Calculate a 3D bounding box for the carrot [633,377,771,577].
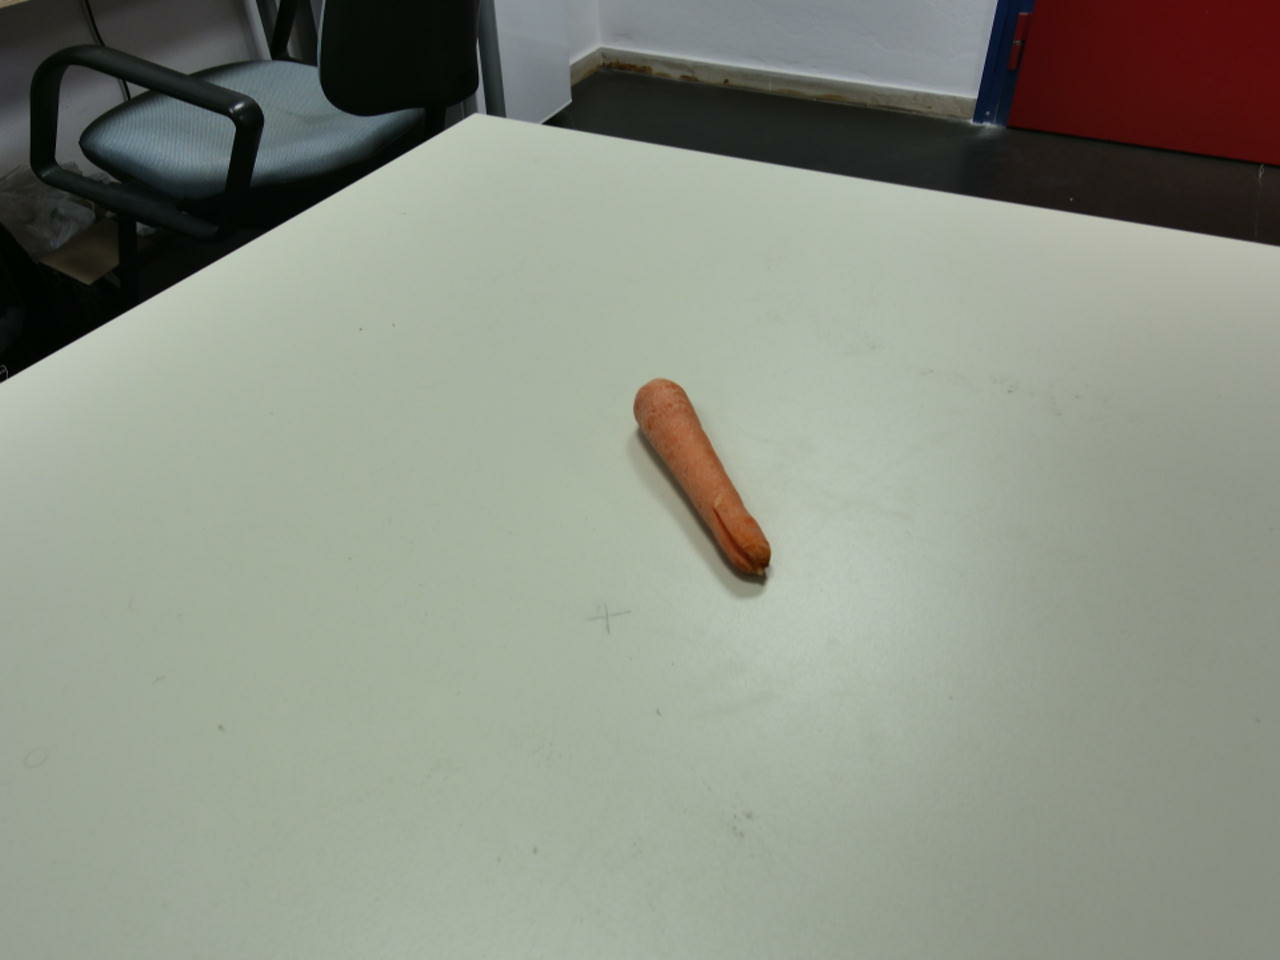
[{"bbox_3d":[0.027,-0.006,0.470,0.030,0.032,0.136,-12,38,-14],"label":"carrot"}]
